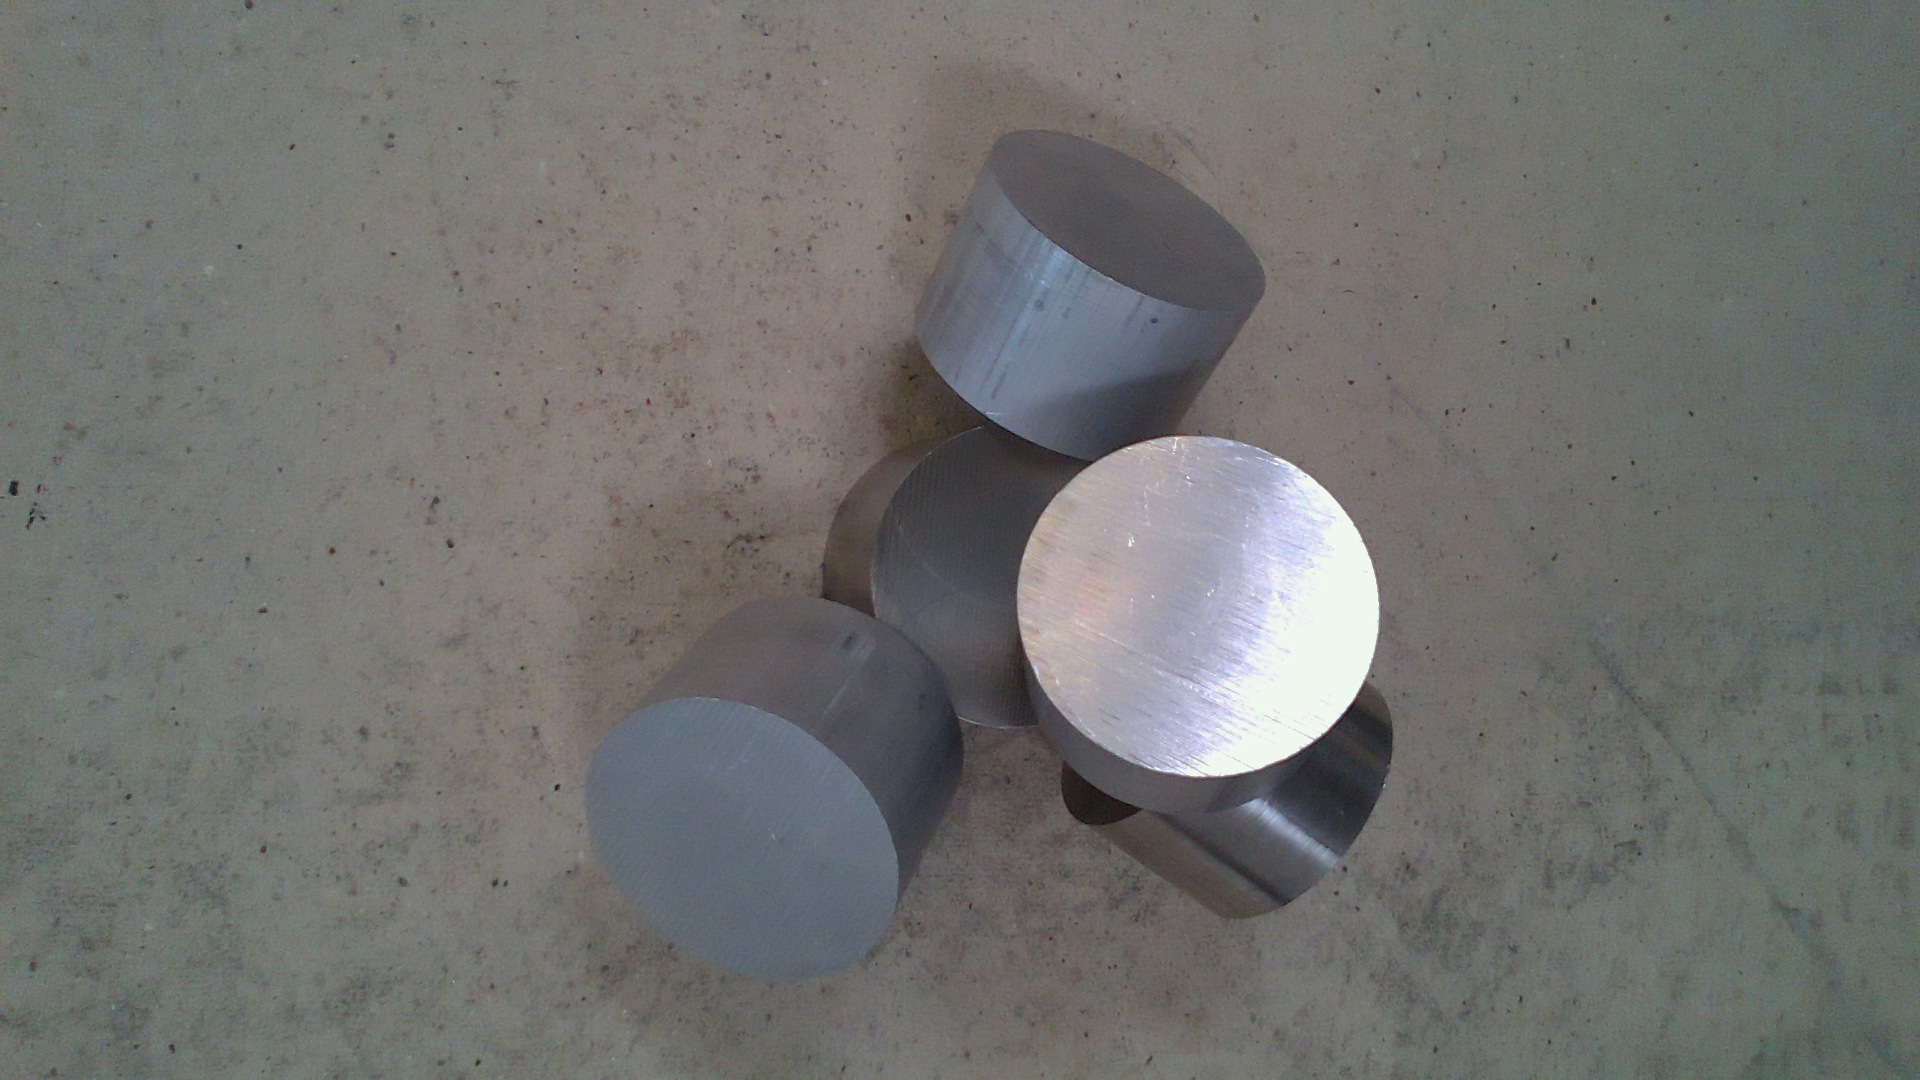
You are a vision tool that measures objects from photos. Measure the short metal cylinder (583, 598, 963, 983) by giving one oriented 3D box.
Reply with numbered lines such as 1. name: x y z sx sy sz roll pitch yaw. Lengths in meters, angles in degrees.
1. short metal cylinder: -0.045 0.061 0.342 0.080 0.050 0.080 7 117 15

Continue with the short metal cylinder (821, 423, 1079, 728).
1. short metal cylinder: 0.006 0.009 0.382 0.080 0.050 0.080 0 90 -20

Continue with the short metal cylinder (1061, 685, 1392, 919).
1. short metal cylinder: 0.074 0.059 0.391 0.050 0.080 0.080 36 79 -16

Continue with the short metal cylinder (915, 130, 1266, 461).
1. short metal cylinder: 0.034 -0.066 0.370 0.080 0.080 0.050 15 129 -19

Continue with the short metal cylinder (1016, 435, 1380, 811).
1. short metal cylinder: 0.054 0.022 0.329 0.080 0.050 0.080 -1 70 4
